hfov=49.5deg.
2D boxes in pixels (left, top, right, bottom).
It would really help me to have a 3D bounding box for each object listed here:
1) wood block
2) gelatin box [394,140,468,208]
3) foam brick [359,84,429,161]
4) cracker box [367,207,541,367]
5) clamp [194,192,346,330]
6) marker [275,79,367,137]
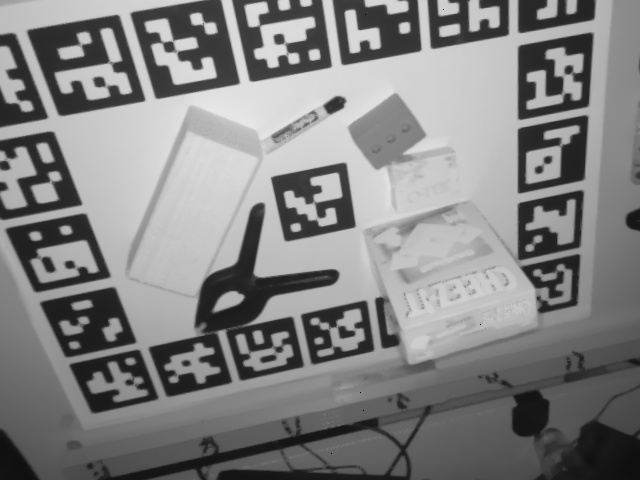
[{"bbox_3d":[-0.145,-0.062,0.834,0.090,0.091,0.204,22,114,-21],"label":"wood block"},{"bbox_3d":[0.145,-0.086,0.906,0.090,0.030,0.073,-11,116,-4],"label":"gelatin box"},{"bbox_3d":[0.096,-0.144,0.853,0.078,0.051,0.053,-32,116,7],"label":"foam brick"},{"bbox_3d":[0.157,0.049,0.864,0.164,0.214,0.071,-12,119,0],"label":"cracker box"},{"bbox_3d":[-0.091,0.051,0.927,0.202,0.037,0.166,-38,116,9],"label":"clamp"},{"bbox_3d":[0.002,-0.162,0.844,0.121,0.020,0.019,-28,116,5],"label":"marker"}]
